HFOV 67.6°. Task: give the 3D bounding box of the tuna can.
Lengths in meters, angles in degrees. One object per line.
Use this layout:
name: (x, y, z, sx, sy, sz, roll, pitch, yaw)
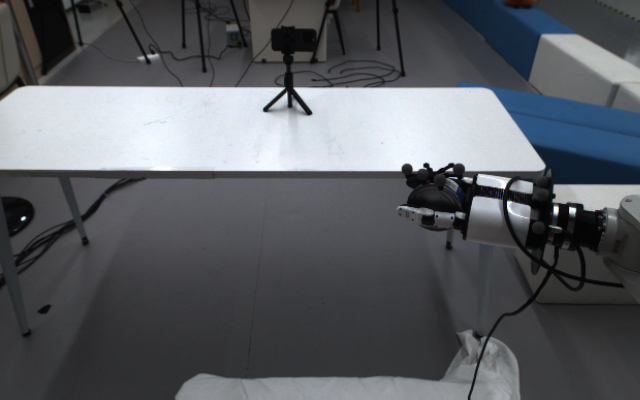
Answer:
tuna can: (0.184, 0.003, 0.760, 0.085, 0.085, 0.034, 17, 37, 20)
